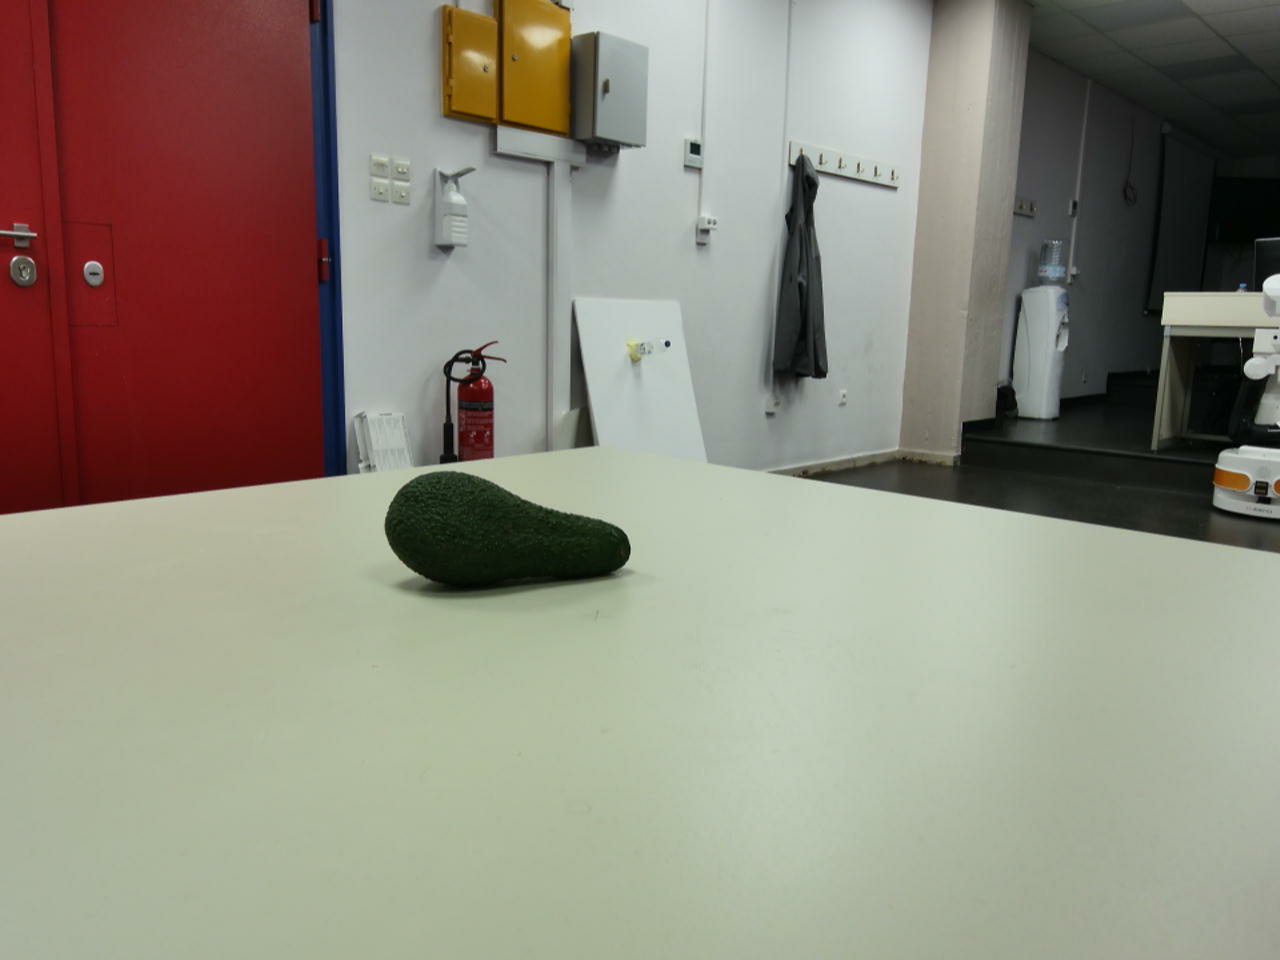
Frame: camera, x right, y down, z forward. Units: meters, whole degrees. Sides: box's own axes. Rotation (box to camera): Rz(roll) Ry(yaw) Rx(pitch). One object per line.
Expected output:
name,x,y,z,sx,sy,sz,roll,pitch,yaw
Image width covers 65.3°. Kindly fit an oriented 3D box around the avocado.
avocado,-0.076,0.025,0.577,0.141,0.067,0.063,-5,9,-33
